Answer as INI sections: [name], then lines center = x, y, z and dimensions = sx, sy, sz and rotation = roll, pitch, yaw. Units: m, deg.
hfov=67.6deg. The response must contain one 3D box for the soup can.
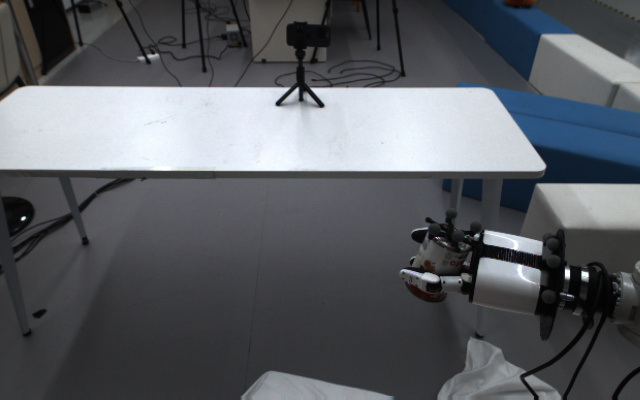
[soup can]
center = 0.177, 0.093, 0.726
dimensions = 0.067, 0.101, 0.067
rotation = 13, 31, -8
